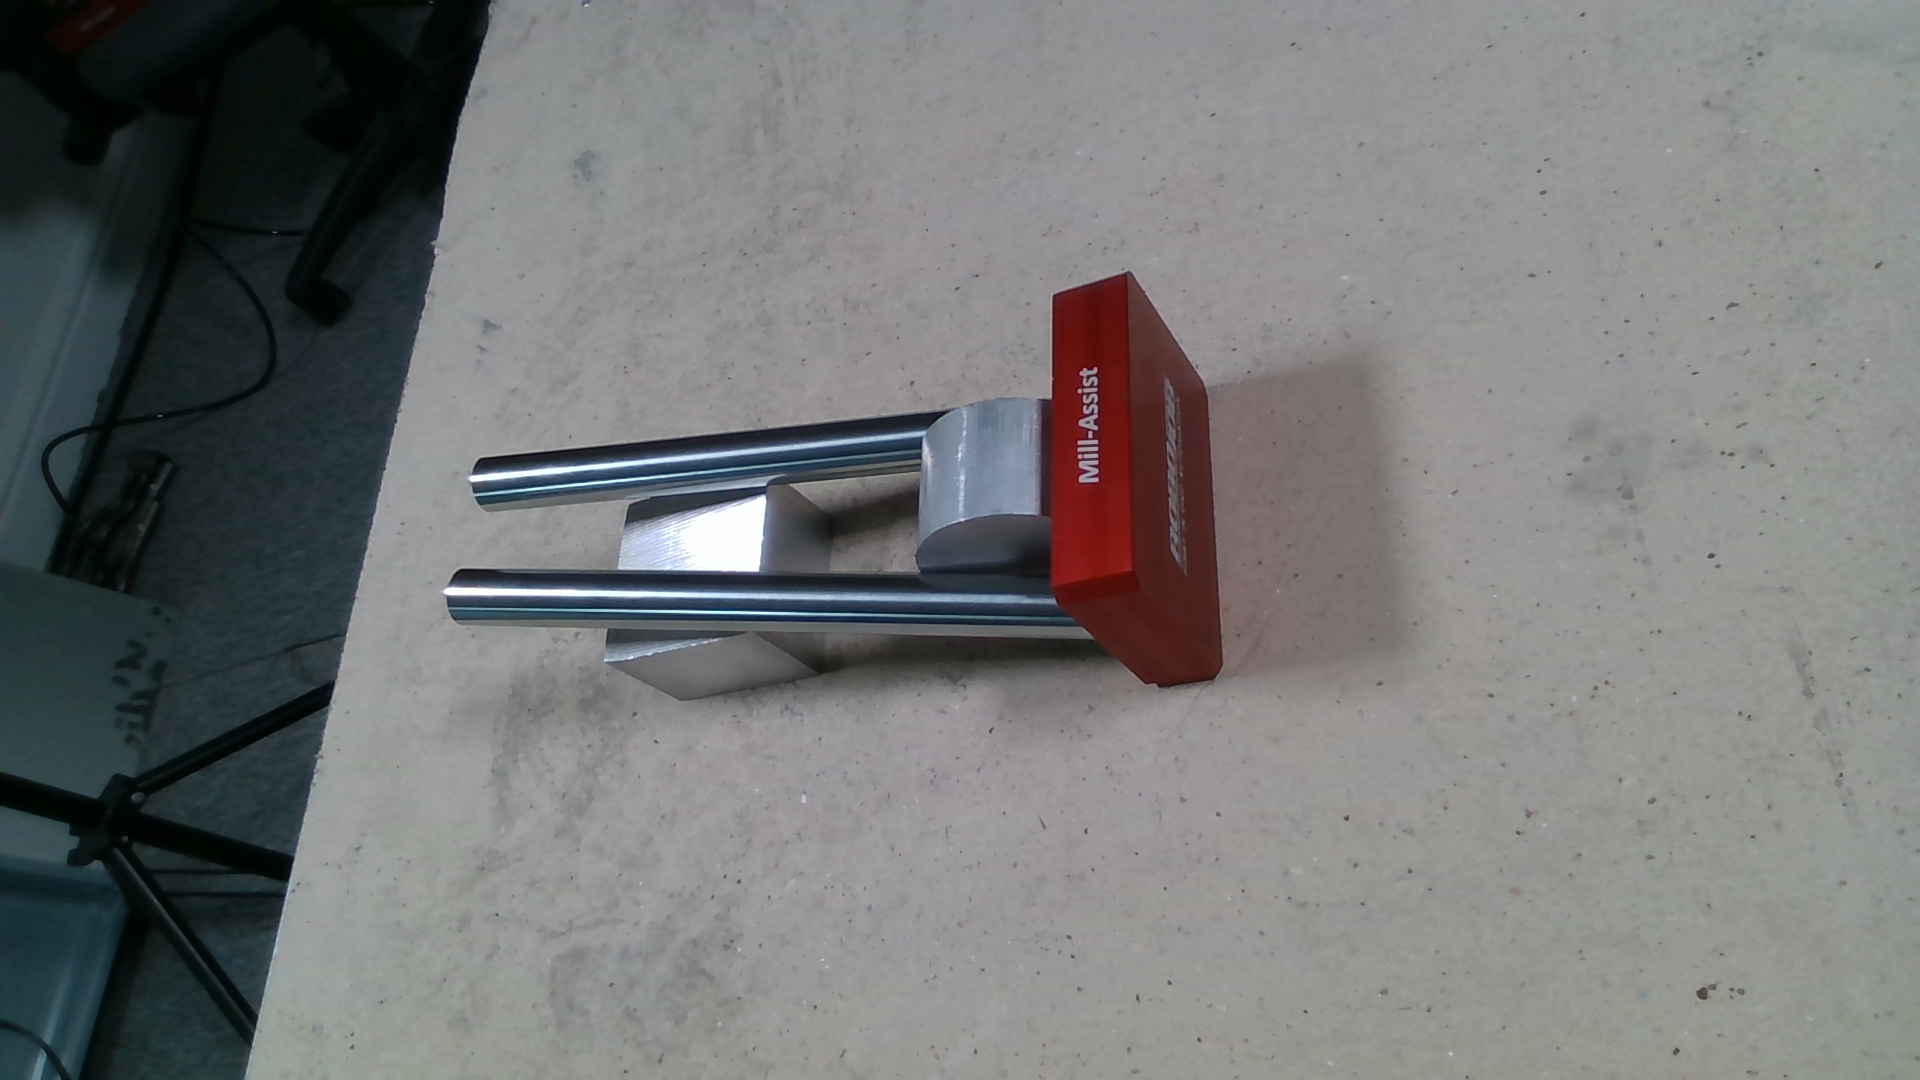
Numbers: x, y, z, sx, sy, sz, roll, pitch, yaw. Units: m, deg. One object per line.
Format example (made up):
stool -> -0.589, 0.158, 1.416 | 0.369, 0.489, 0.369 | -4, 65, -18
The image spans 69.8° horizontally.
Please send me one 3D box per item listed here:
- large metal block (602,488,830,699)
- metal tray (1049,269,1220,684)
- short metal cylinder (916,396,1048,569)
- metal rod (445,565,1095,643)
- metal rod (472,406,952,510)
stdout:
large metal block -> -0.109, 0.021, 0.623 | 0.080, 0.050, 0.080 | -13, 59, 26
metal tray -> 0.066, -0.023, 0.515 | 0.030, 0.090, 0.130 | -12, 60, 26
short metal cylinder -> 0.023, -0.014, 0.544 | 0.080, 0.080, 0.050 | -13, 60, 26
metal rod -> -0.071, 0.025, 0.556 | 0.300, 0.025, 0.025 | 1, 65, 16
metal rod -> -0.067, -0.038, 0.588 | 0.300, 0.025, 0.025 | -5, 62, 13
